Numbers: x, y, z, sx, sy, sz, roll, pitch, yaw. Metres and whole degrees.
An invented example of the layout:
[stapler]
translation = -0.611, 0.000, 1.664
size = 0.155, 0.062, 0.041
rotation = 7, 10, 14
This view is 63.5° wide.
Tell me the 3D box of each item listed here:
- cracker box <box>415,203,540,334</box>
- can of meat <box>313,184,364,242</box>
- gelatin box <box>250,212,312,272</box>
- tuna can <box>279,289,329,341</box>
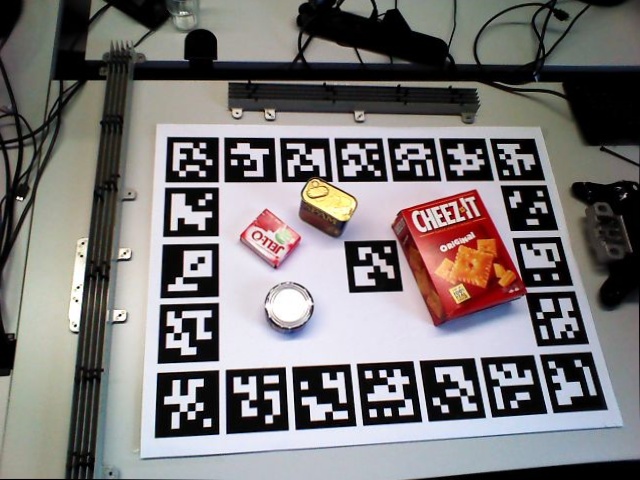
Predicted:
[cracker box]
translation = 0.286, 0.047, 0.966
size = 0.164, 0.072, 0.213
rotation = -16, 68, -16
[can of meat]
translation = 0.039, -0.048, 0.971
size = 0.102, 0.084, 0.057
rotation = 27, 65, 6
[gelatin box]
translation = -0.072, 0.003, 0.955
size = 0.089, 0.030, 0.073
rotation = 39, 64, 7
[tuna can]
translation = -0.028, 0.131, 0.900
size = 0.086, 0.034, 0.085
rotation = 2, 69, -6
